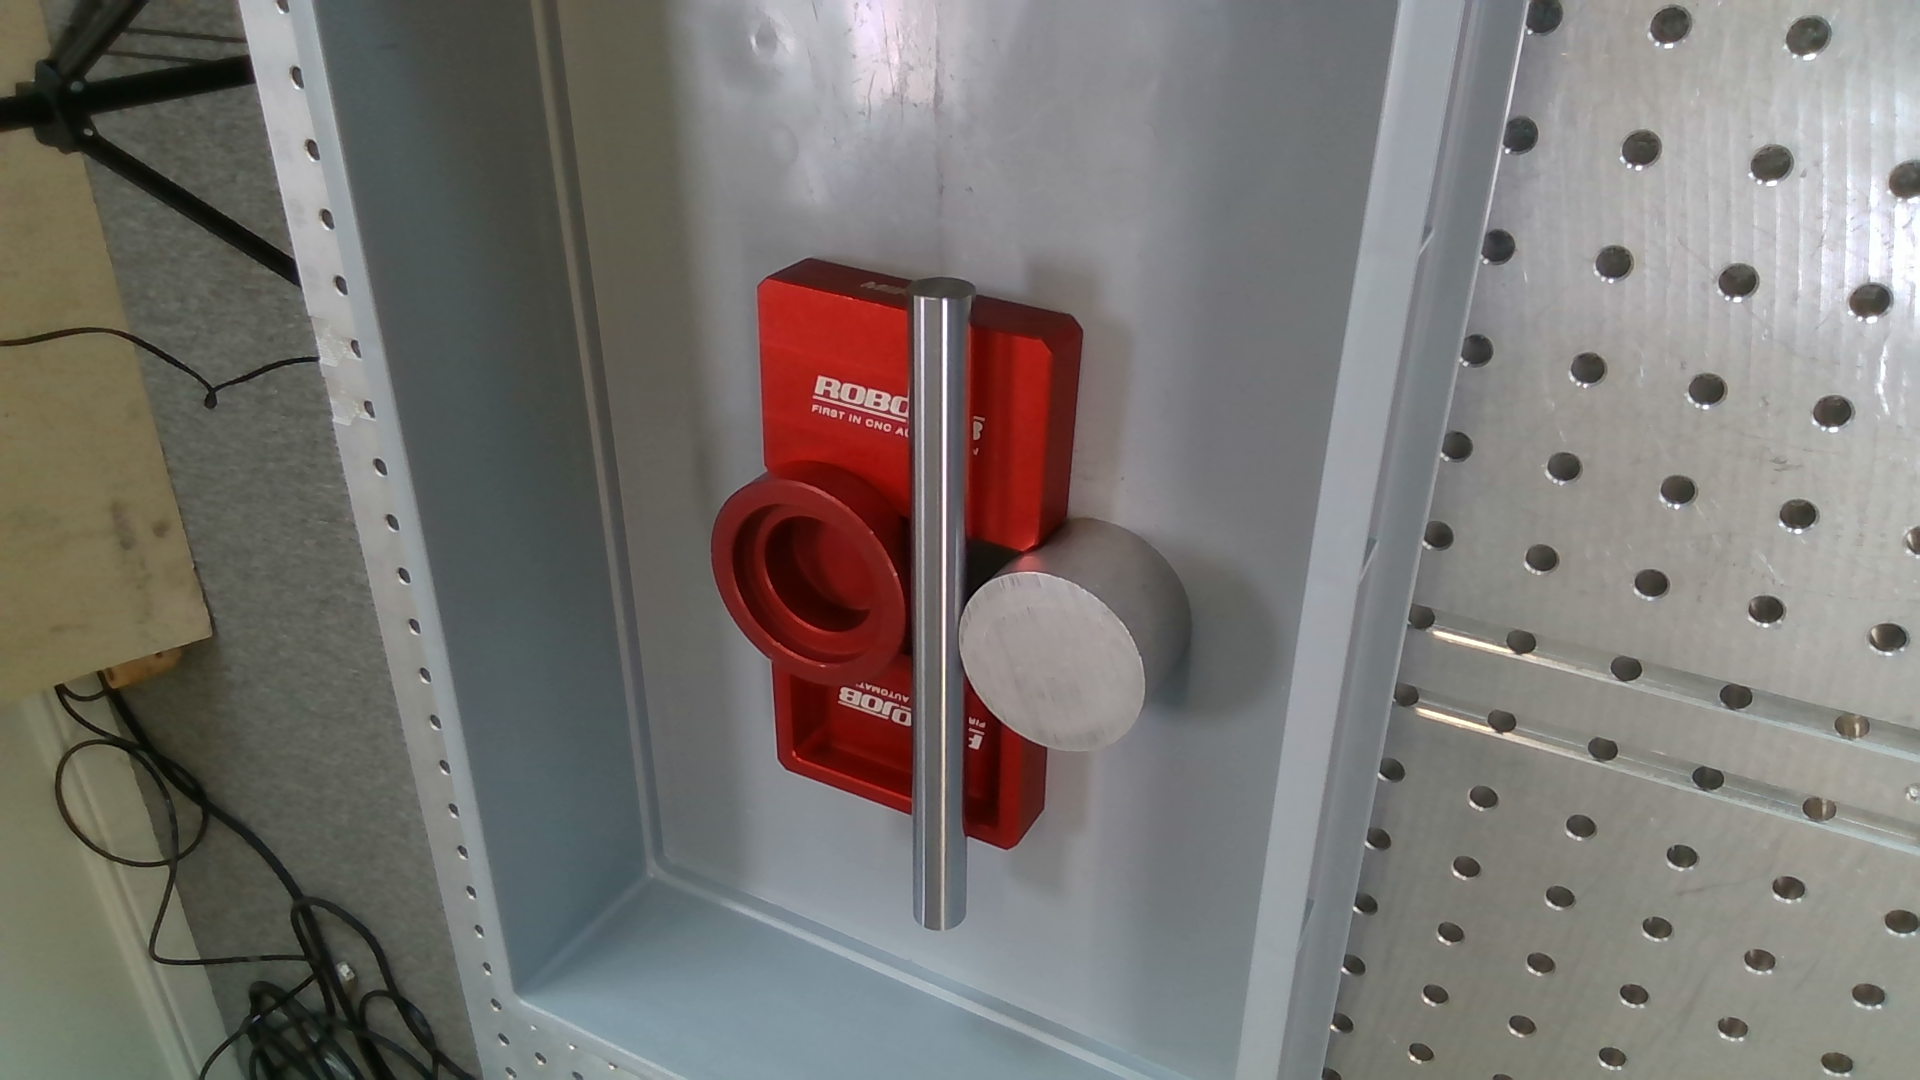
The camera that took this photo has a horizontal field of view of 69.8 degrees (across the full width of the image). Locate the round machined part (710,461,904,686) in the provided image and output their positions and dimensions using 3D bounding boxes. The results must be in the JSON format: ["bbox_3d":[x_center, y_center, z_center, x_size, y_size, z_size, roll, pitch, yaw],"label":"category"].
[{"bbox_3d":[-0.057,0.011,0.596,0.098,0.042,0.098,14,122,25],"label":"round machined part"}]

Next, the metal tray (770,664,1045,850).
[{"bbox_3d":[-0.025,0.081,0.635,0.130,0.030,0.090,15,122,24],"label":"metal tray"}]

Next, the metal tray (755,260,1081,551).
[{"bbox_3d":[-0.019,-0.056,0.555,0.130,0.030,0.090,17,123,23],"label":"metal tray"}]

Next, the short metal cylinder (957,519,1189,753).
[{"bbox_3d":[0.046,0.038,0.555,0.080,0.050,0.080,14,122,25],"label":"short metal cylinder"}]

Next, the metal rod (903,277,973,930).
[{"bbox_3d":[-0.009,0.041,0.567,0.025,0.025,0.301,15,122,24],"label":"metal rod"}]
